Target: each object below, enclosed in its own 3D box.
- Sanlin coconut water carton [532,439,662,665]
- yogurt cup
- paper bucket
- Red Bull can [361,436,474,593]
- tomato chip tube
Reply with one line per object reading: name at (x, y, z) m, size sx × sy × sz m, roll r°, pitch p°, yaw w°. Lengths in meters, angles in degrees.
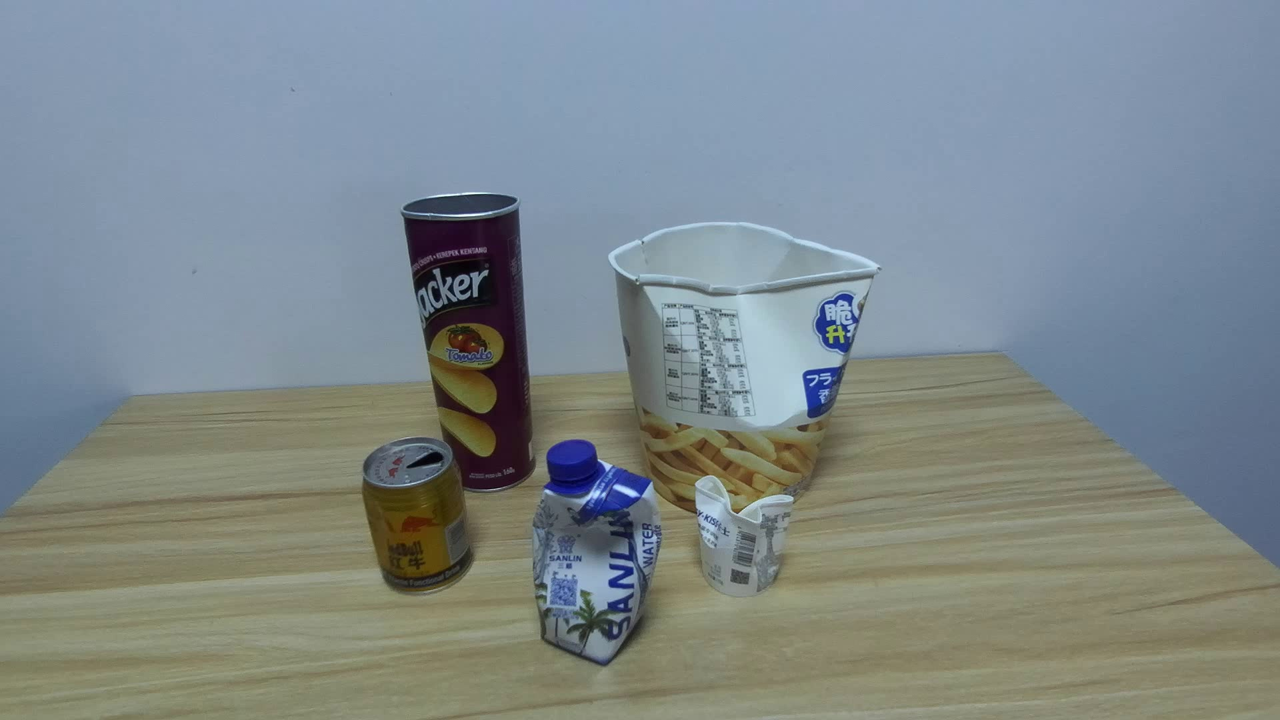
Sanlin coconut water carton at (-0.027, 0.118, 0.424) m, size 0.068 × 0.145 × 0.057 m, roll 20°, pitch 40°, yaw 20°
yogurt cup at (0.069, 0.120, 0.490) m, size 0.055 × 0.072 × 0.054 m, roll -23°, pitch 37°, yaw -30°
paper bucket at (0.067, 0.009, 0.574) m, size 0.163 × 0.202 × 0.168 m, roll -20°, pitch 30°, yaw -31°
Red Bull can at (-0.157, 0.109, 0.499) m, size 0.068 × 0.093 × 0.068 m, roll 0°, pitch 26°, yaw 0°
tomato chip tube at (-0.131, -0.011, 0.574) m, size 0.080 × 0.234 × 0.077 m, roll 14°, pitch 30°, yaw 27°
